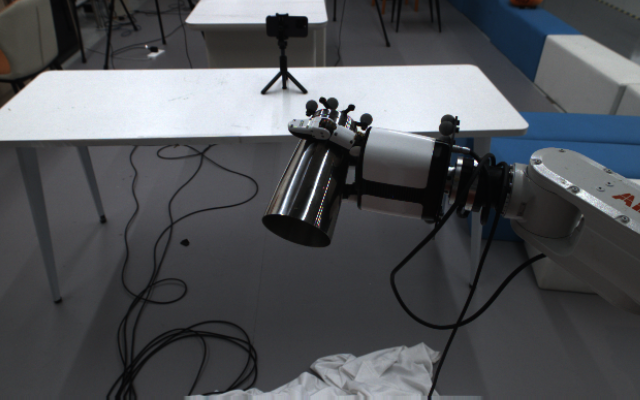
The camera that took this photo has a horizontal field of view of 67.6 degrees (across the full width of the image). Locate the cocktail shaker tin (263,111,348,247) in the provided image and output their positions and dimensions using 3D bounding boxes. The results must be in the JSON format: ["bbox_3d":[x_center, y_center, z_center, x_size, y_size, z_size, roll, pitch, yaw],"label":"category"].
[{"bbox_3d":[-0.002,-0.037,0.639,0.093,0.093,0.170,12,65,15],"label":"cocktail shaker tin"}]
